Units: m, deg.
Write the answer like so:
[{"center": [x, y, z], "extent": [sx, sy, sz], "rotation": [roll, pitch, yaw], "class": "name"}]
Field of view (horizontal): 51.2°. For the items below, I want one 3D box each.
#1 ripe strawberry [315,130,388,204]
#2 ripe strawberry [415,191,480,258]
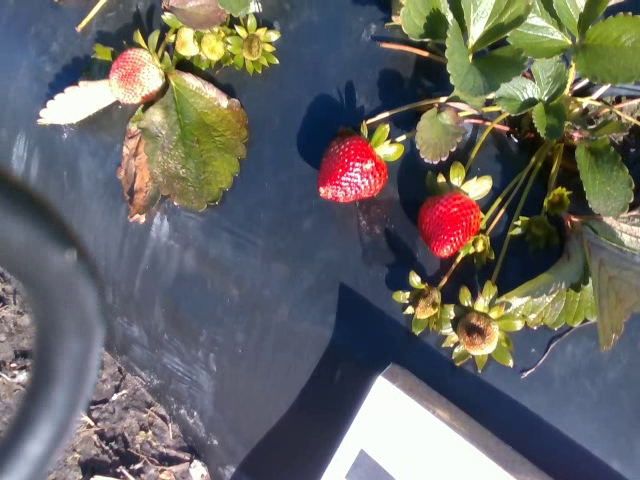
[{"center": [0.013, -0.040, 0.408], "extent": [0.050, 0.051, 0.045], "rotation": [-36, -11, -32], "class": "ripe strawberry"}, {"center": [0.073, -0.006, 0.385], "extent": [0.042, 0.039, 0.049], "rotation": [-13, 35, 38], "class": "ripe strawberry"}]
